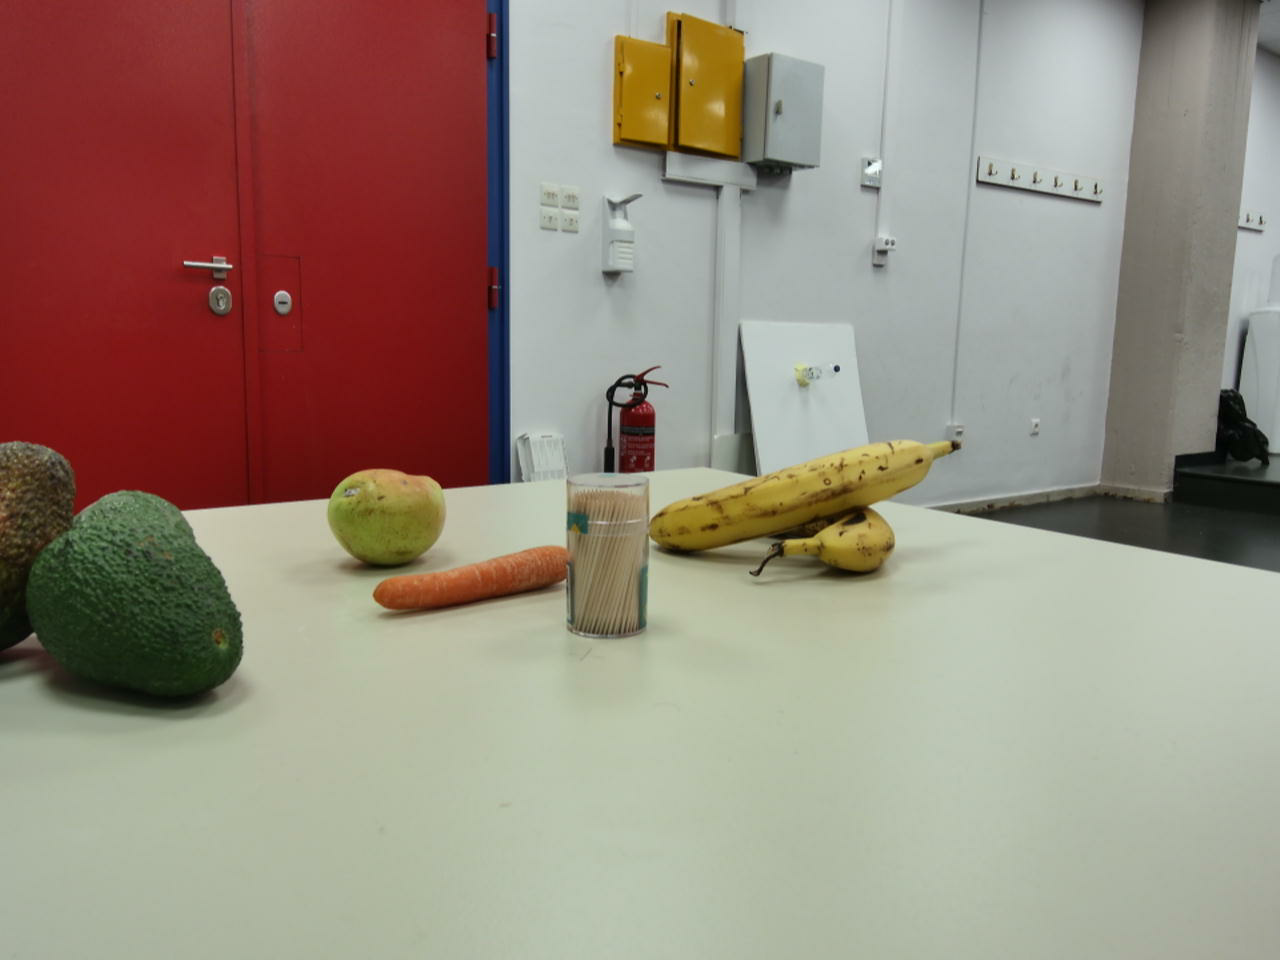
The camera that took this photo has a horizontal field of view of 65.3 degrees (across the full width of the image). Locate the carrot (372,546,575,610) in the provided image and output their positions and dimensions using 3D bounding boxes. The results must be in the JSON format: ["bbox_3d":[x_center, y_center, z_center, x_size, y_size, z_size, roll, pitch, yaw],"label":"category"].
[{"bbox_3d":[-0.086,0.053,0.541,0.122,0.023,0.024,-5,9,-39],"label":"carrot"}]
